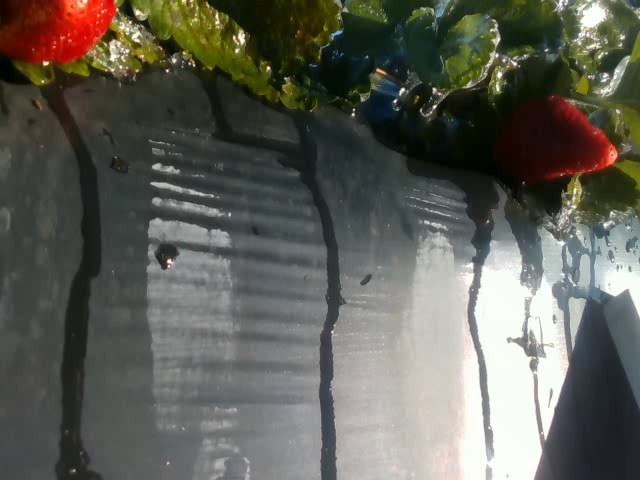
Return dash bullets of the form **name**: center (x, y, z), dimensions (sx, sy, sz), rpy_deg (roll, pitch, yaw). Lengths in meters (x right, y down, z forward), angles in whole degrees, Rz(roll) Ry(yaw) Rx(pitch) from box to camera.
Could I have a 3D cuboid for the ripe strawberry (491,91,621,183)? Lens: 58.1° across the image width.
- **ripe strawberry**: center (0.102, -0.040, 0.238), dimensions (0.041, 0.047, 0.052), rpy_deg (9, 15, -23)
